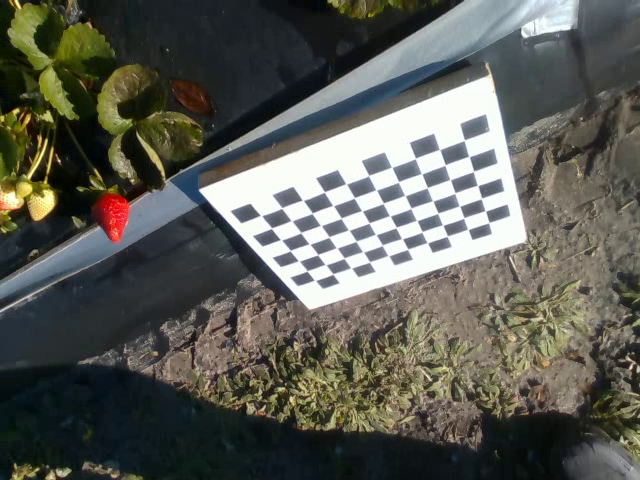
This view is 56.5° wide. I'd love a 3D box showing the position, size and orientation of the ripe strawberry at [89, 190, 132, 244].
[{"bbox_3d":[-0.172,-0.017,0.484,0.036,0.046,0.038,-18,-23,18],"label":"ripe strawberry"}]
